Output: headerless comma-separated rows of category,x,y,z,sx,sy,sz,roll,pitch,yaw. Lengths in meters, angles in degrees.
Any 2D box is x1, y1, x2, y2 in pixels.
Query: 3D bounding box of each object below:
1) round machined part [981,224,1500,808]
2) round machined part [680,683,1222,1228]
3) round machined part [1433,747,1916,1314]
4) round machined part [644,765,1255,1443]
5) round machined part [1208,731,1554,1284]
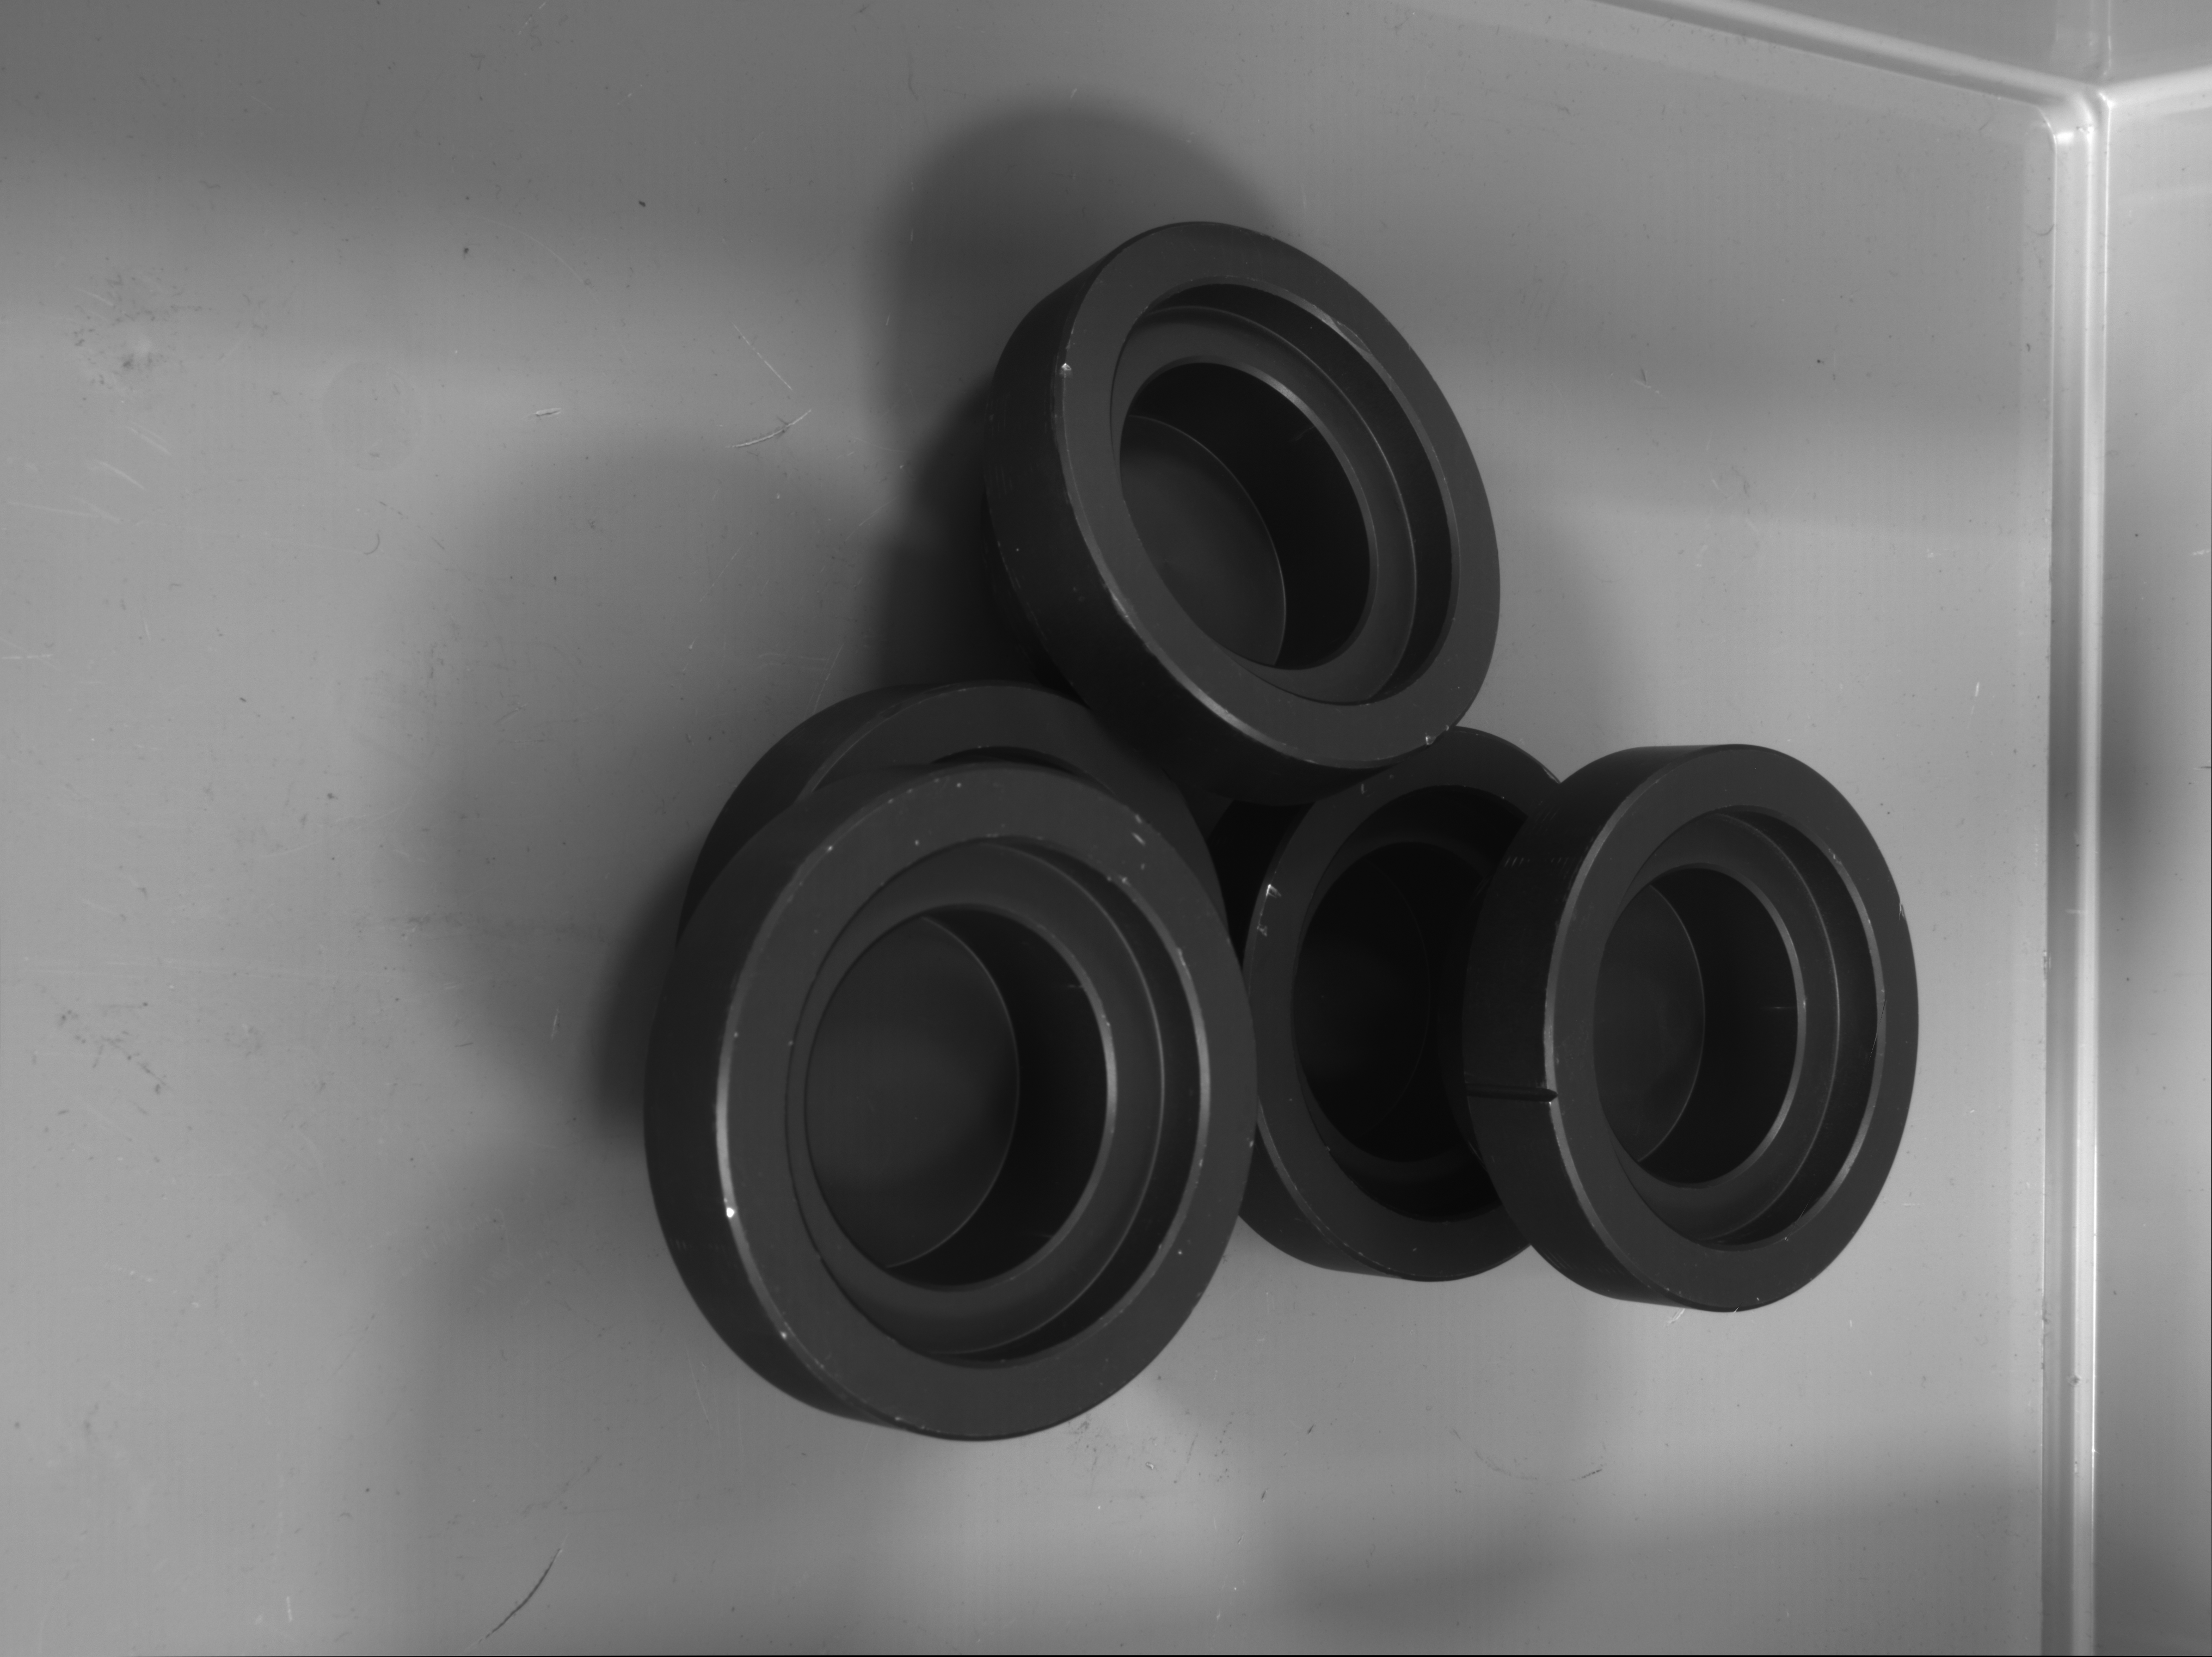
round machined part,0.018,-0.050,0.625,0.098,0.042,0.098,18,61,-35
round machined part,-0.030,0.026,0.599,0.098,0.042,0.098,0,90,-40
round machined part,0.096,0.035,0.650,0.098,0.042,0.098,0,90,-40
round machined part,-0.028,0.040,0.546,0.098,0.042,0.098,0,90,-40
round machined part,0.047,0.031,0.663,0.098,0.042,0.098,0,90,-40
